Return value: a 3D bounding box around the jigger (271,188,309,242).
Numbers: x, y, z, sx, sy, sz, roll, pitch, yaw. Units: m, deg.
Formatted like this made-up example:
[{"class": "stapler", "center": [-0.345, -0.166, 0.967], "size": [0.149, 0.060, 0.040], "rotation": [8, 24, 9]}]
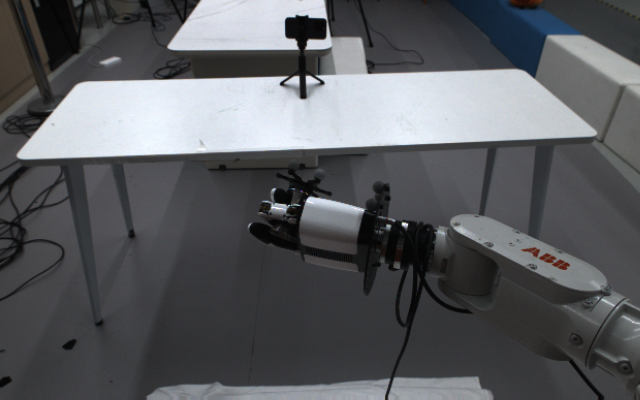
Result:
[{"class": "jigger", "center": [-0.041, 0.021, 0.708], "size": [0.043, 0.043, 0.071], "rotation": [15, 71, 18]}]
